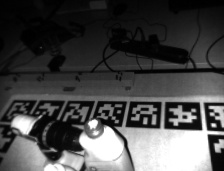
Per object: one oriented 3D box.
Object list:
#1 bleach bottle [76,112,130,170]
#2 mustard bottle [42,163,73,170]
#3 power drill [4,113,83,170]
[{"bbox_3d":[-0.023,0.145,0.434,0.102,0.253,0.068,1,41,18],"label":"bleach bottle"},{"bbox_3d":[-0.097,0.203,0.430,0.095,0.193,0.058,0,46,15],"label":"mustard bottle"},{"bbox_3d":[-0.125,0.139,0.474,0.182,0.188,0.057,10,49,23],"label":"power drill"}]
